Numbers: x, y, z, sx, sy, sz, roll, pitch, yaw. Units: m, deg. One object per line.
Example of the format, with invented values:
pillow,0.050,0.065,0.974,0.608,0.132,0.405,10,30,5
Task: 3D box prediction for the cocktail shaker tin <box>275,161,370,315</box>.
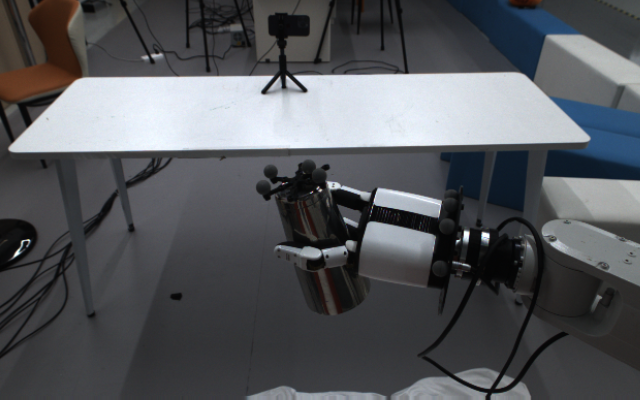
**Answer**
cocktail shaker tin,0.000,0.054,0.624,0.093,0.170,0.093,-15,29,8
